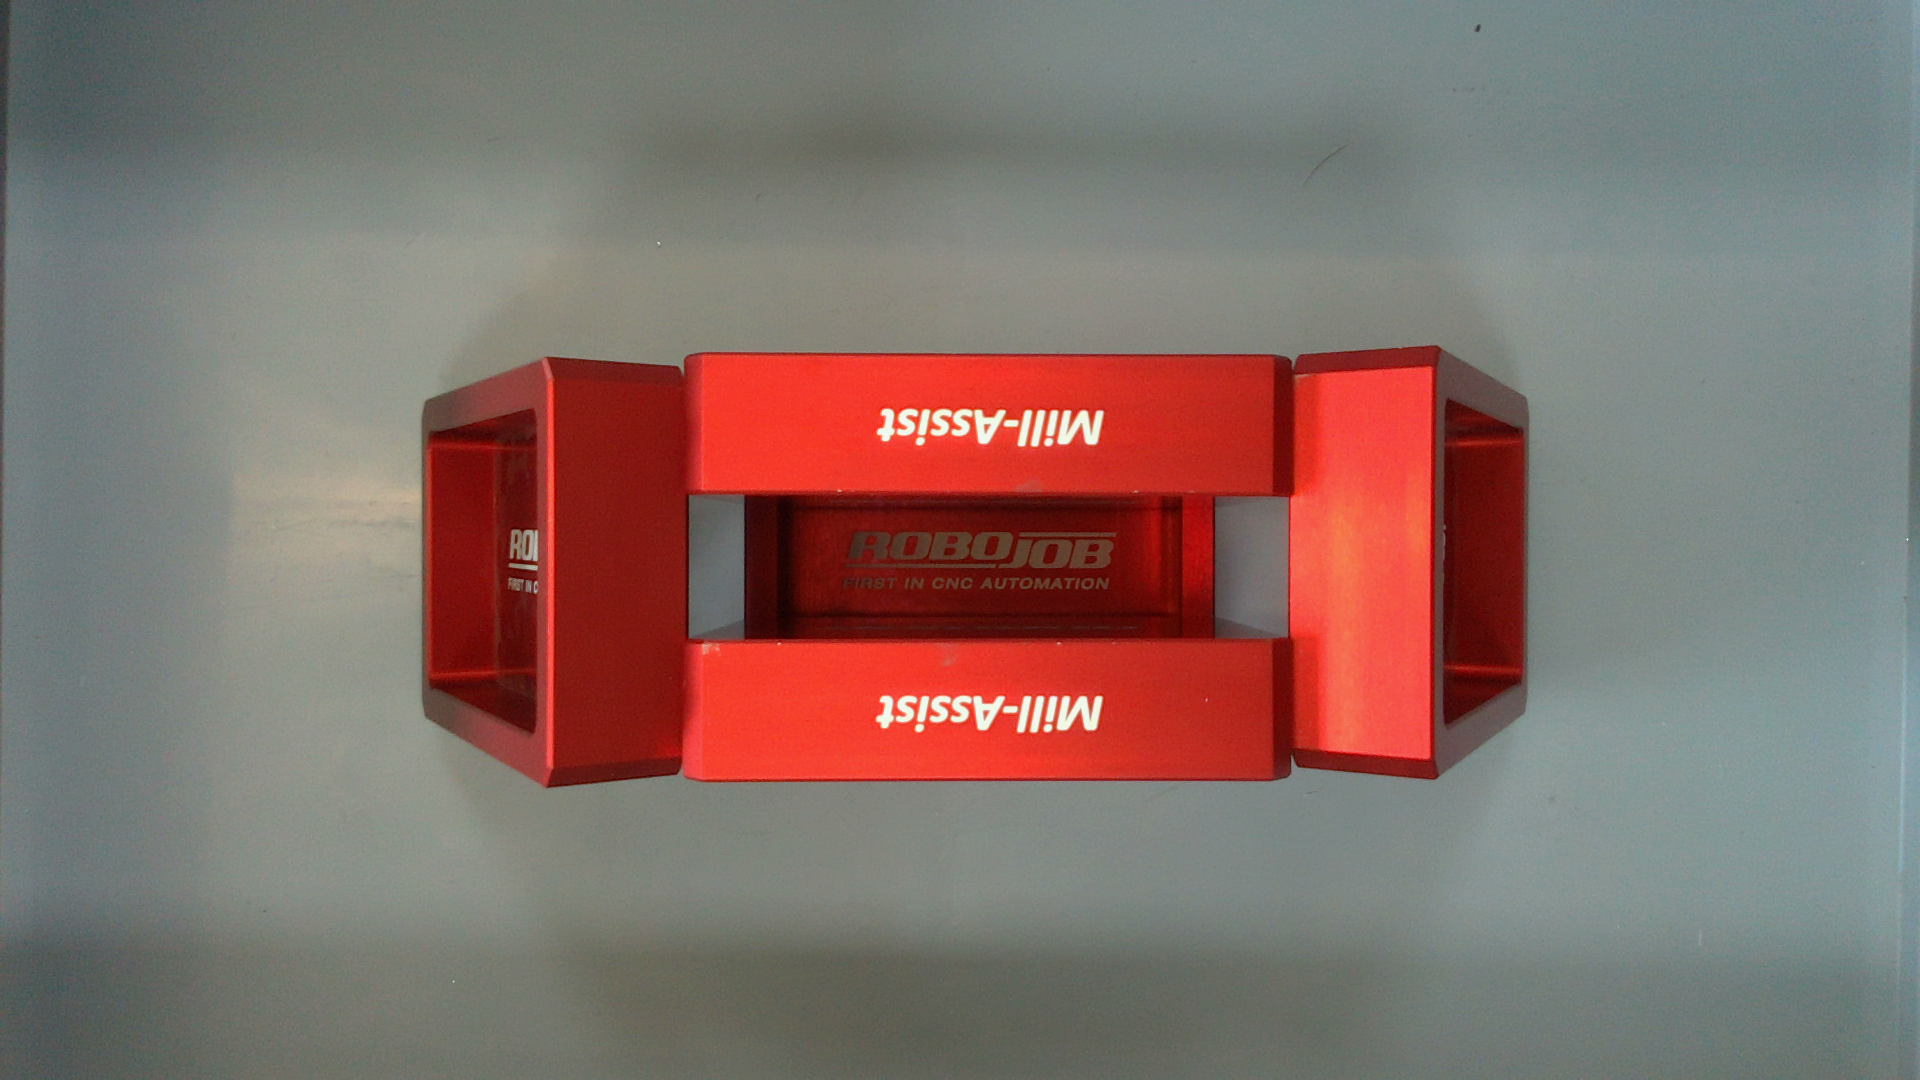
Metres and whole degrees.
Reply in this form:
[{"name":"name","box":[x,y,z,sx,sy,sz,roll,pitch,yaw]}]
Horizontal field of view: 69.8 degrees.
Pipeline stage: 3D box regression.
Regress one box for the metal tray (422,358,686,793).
[{"name":"metal tray","box":[-0.106,0.006,0.343,0.030,0.129,0.090,0,91,-32]}]

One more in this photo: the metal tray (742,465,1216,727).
[{"name":"metal tray","box":[0.005,0.006,0.392,0.130,0.030,0.090,0,90,-1]}]

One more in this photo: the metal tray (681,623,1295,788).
[{"name":"metal tray","box":[0.006,0.037,0.332,0.130,0.090,0.030,0,90,-1]}]

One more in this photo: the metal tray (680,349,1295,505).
[{"name":"metal tray","box":[0.006,-0.024,0.331,0.130,0.090,0.030,0,90,0]}]

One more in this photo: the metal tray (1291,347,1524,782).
[{"name":"metal tray","box":[0.116,0.005,0.343,0.030,0.130,0.090,1,91,30]}]
